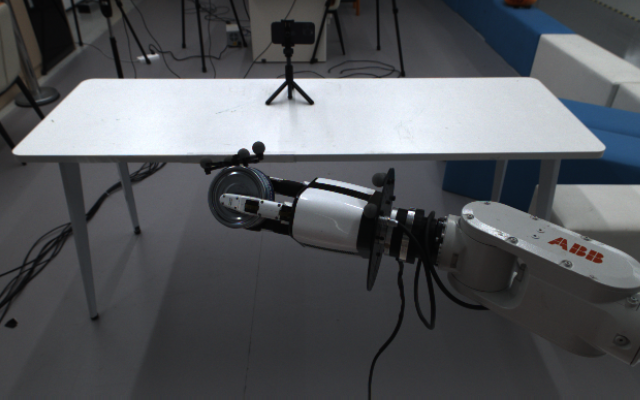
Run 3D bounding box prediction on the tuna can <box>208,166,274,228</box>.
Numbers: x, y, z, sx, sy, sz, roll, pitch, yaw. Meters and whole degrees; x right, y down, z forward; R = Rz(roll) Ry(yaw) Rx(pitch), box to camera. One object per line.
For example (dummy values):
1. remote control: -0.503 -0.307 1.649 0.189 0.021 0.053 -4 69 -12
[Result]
1. tuna can: -0.103 0.002 0.651 0.085 0.085 0.034 12 3 14
